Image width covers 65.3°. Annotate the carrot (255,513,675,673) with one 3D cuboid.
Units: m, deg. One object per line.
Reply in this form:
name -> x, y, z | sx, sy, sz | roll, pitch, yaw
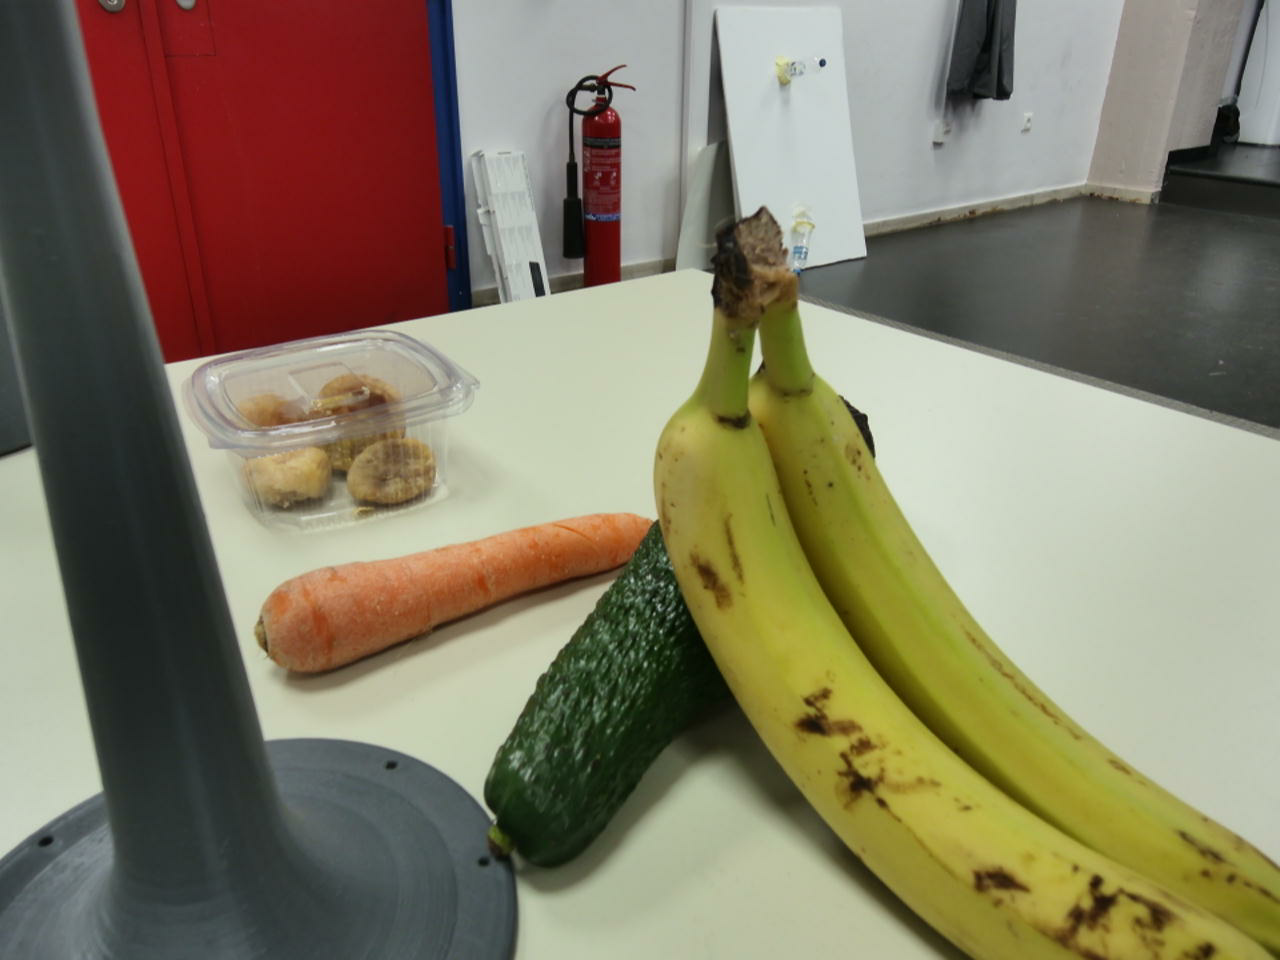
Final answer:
carrot -> -0.063, 0.035, 0.424 | 0.196, 0.041, 0.039 | -18, 30, -35
